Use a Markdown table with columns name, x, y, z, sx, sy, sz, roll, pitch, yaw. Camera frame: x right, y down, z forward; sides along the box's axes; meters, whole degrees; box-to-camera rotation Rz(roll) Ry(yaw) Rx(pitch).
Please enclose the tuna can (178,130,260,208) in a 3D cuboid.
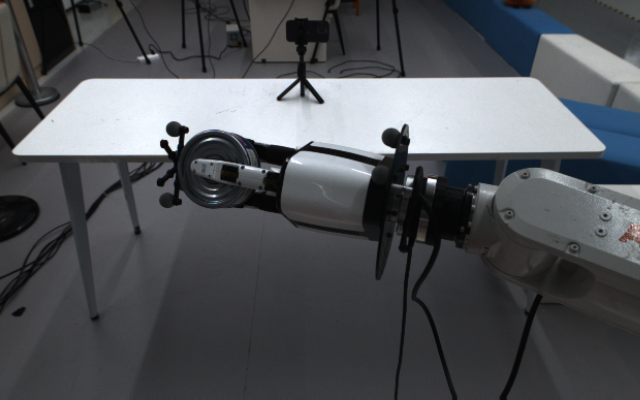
| name | x | y | z | sx | sy | sz | roll | pitch | yaw |
| --- | --- | --- | --- | --- | --- | --- | --- | --- | --- |
| tuna can | -0.108 | -0.035 | 0.530 | 0.085 | 0.085 | 0.034 | 10 | 2 | 11 |
